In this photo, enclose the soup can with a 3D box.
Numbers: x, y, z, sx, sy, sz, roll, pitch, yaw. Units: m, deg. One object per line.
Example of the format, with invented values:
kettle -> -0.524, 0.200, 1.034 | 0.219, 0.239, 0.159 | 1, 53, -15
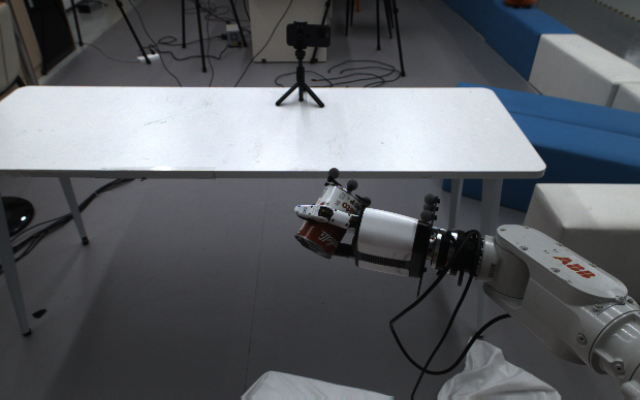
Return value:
soup can -> 0.015, 0.034, 0.770 | 0.067, 0.067, 0.101 | 24, 73, 28
